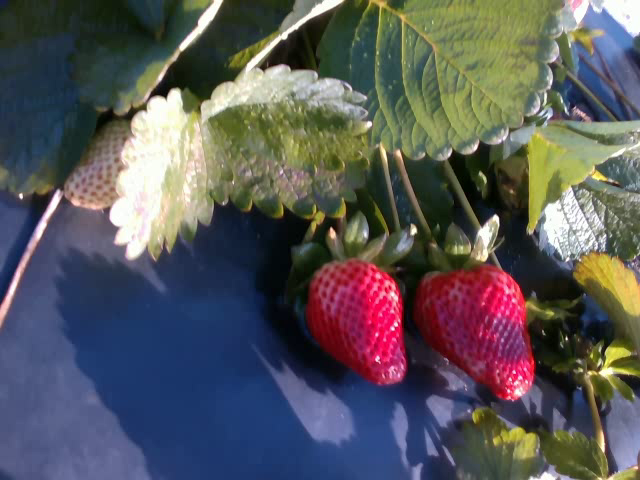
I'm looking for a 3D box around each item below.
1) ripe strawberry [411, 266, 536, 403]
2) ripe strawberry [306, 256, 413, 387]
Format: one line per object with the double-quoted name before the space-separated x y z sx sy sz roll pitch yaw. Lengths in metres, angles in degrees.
"ripe strawberry" 0.063 0.036 0.230 0.052 0.058 0.046 -15 -32 -11
"ripe strawberry" 0.014 0.029 0.204 0.043 0.052 0.037 -24 -28 -8
